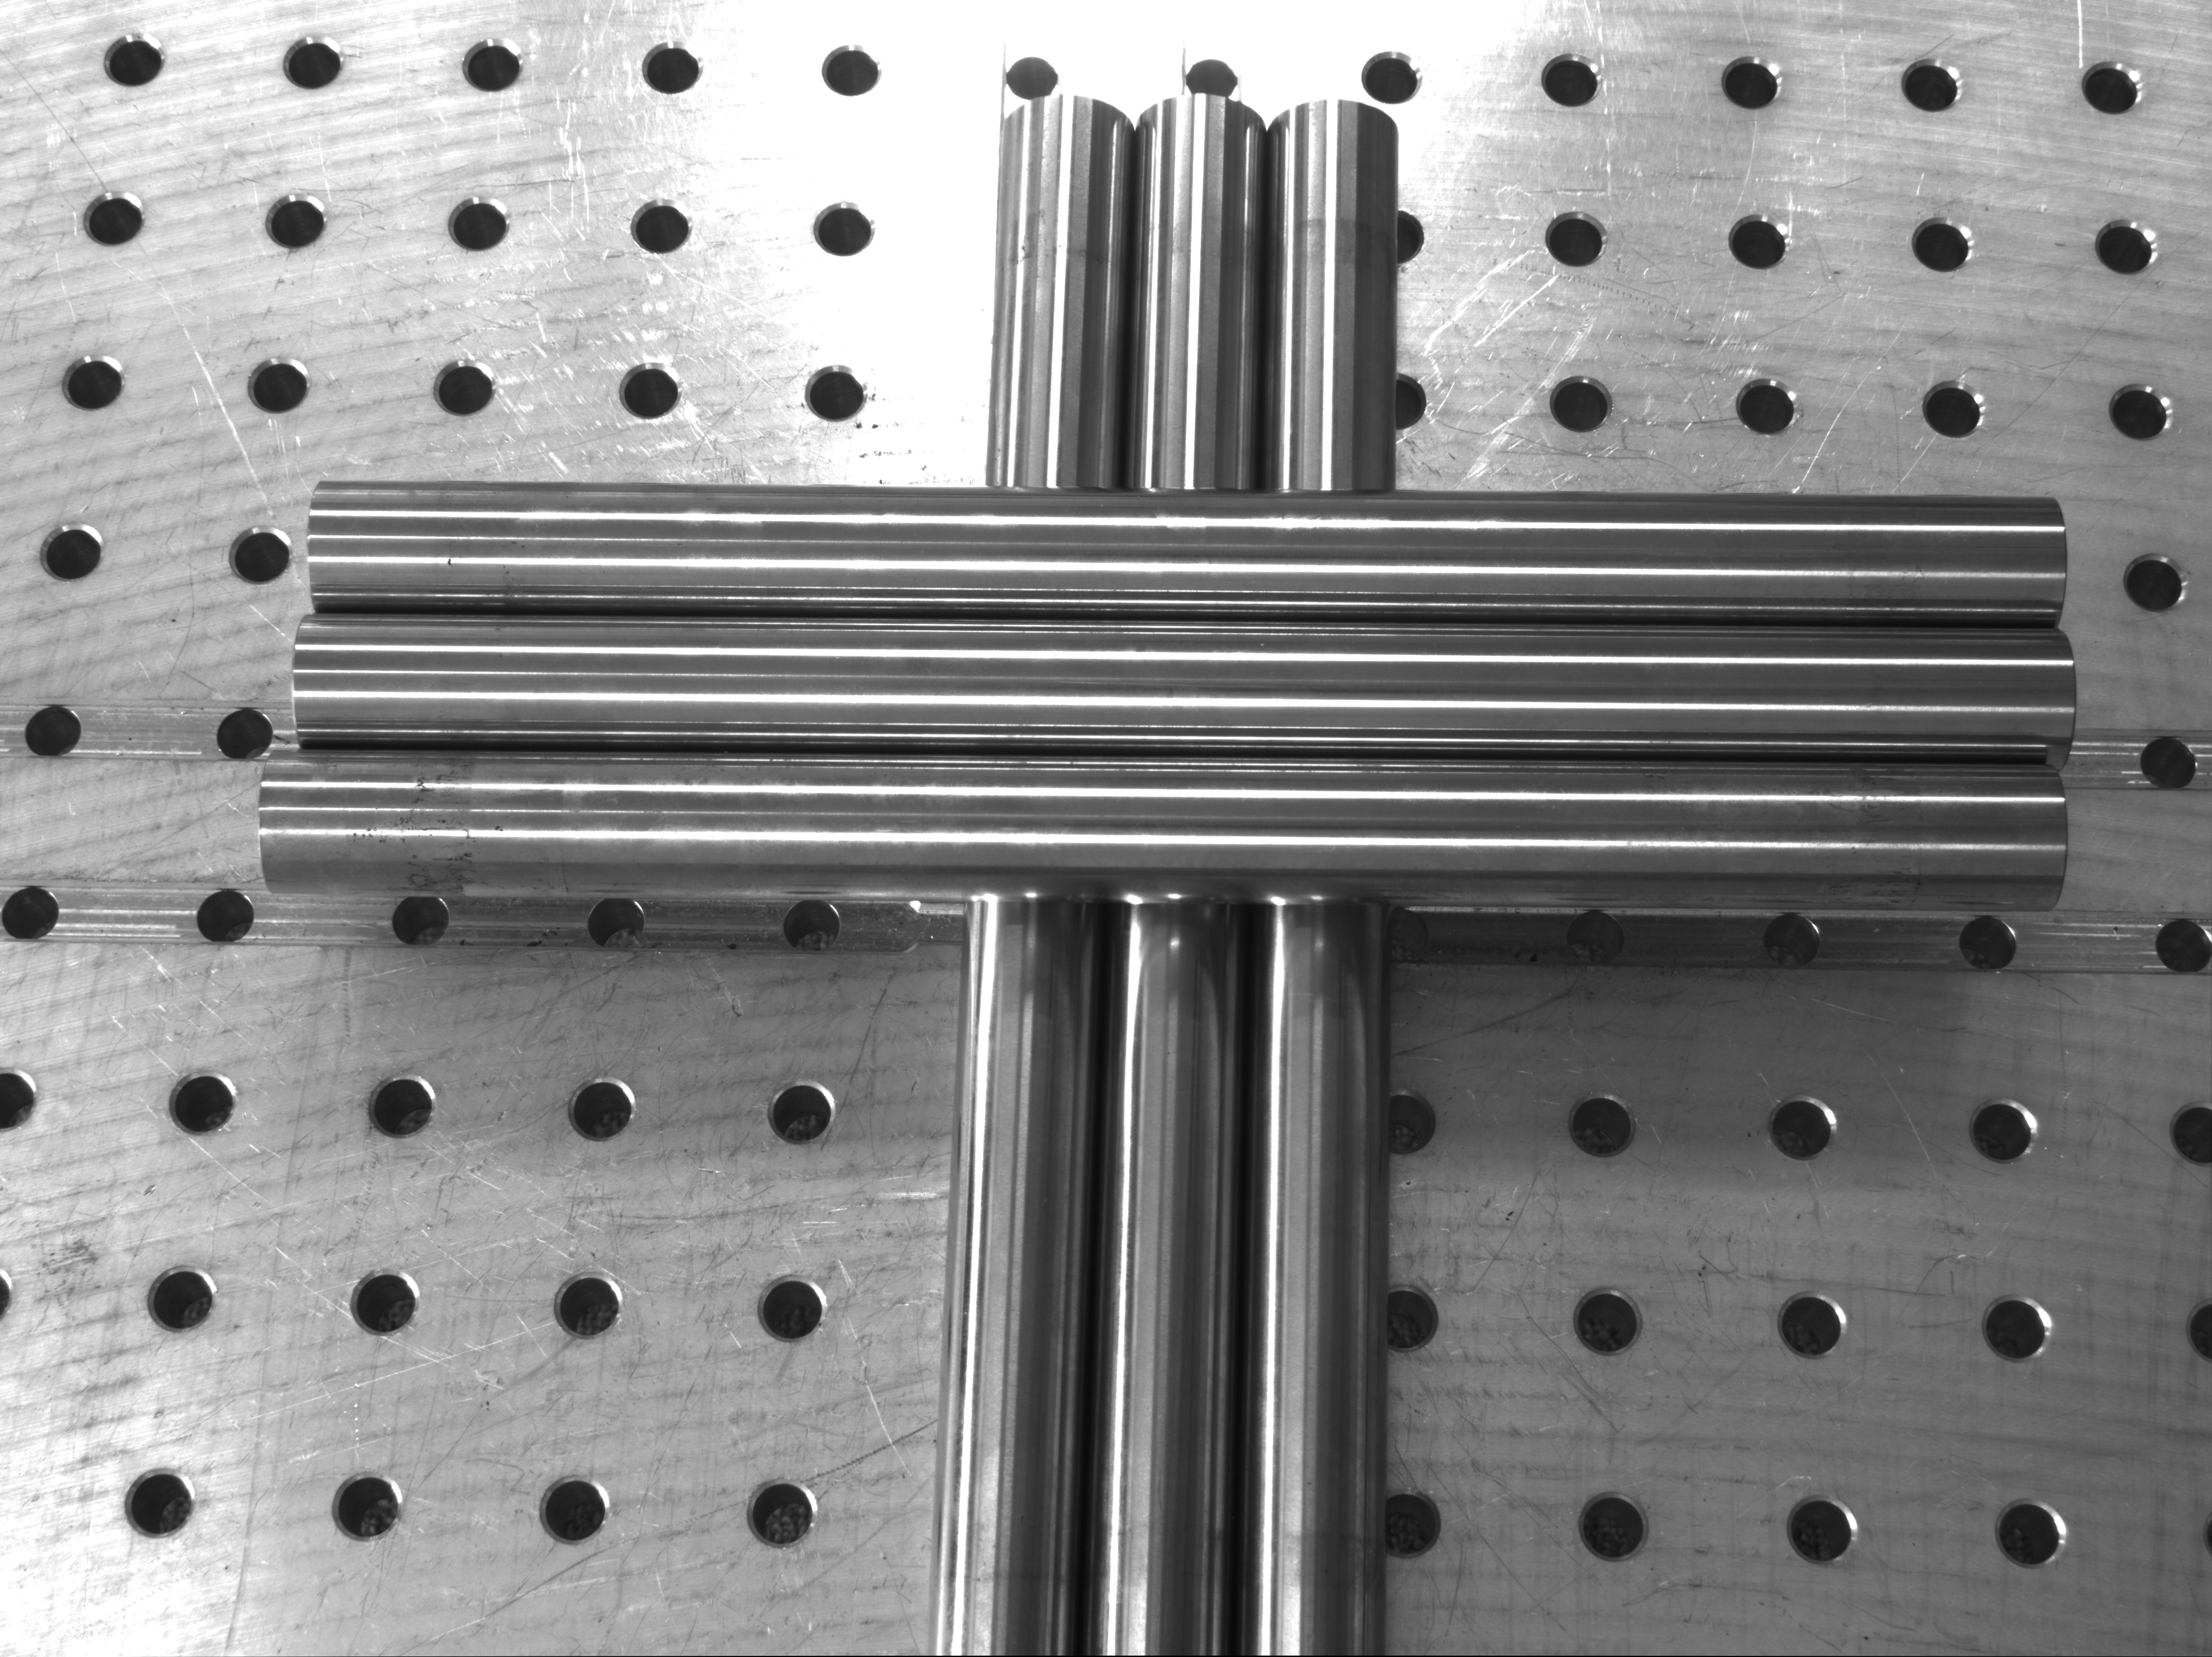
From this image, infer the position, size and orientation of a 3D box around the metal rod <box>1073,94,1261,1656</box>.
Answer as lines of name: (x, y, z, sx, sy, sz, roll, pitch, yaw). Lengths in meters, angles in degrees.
metal rod: (0.012, 0.008, 0.645, 0.025, 0.025, 0.300, 2, 70, 1)

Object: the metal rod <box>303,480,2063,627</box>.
metal rod: (0.013, -0.047, 0.638, 0.300, 0.025, 0.025, 1, 70, 0)

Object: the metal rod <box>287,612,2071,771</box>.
metal rod: (0.012, -0.023, 0.630, 0.300, 0.025, 0.025, 1, 70, 0)

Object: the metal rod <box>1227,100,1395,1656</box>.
metal rod: (0.037, 0.009, 0.645, 0.025, 0.025, 0.300, 2, 70, 1)

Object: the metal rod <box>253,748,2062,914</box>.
metal rod: (0.009, 0.000, 0.621, 0.300, 0.025, 0.025, 1, 70, 0)

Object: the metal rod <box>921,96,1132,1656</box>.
metal rod: (-0.013, 0.008, 0.645, 0.025, 0.025, 0.300, 2, 70, 1)
